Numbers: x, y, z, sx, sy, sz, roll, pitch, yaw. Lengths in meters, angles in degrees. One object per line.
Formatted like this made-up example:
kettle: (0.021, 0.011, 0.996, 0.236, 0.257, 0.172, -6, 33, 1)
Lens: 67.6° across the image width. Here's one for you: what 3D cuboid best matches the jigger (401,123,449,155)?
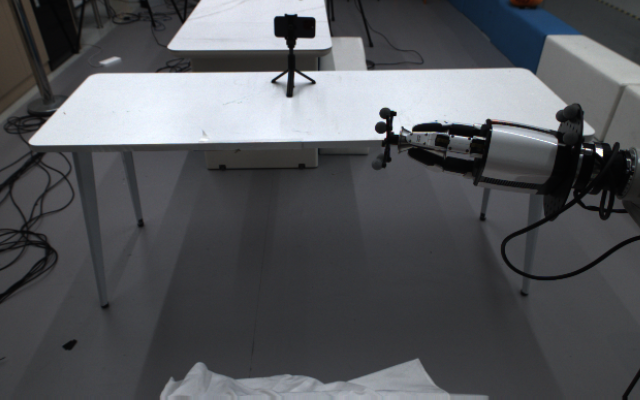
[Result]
jigger: (0.155, -0.086, 0.699, 0.071, 0.043, 0.043, 8, 35, 15)
